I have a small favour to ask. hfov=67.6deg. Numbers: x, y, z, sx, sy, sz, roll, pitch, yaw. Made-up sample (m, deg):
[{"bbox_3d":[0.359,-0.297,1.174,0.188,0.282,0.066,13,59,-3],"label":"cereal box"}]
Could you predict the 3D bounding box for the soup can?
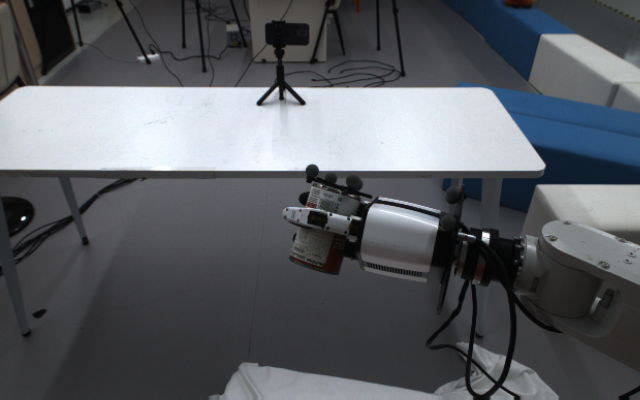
[{"bbox_3d":[0.009,0.037,0.616,0.067,0.101,0.067,17,-1,0],"label":"soup can"}]
